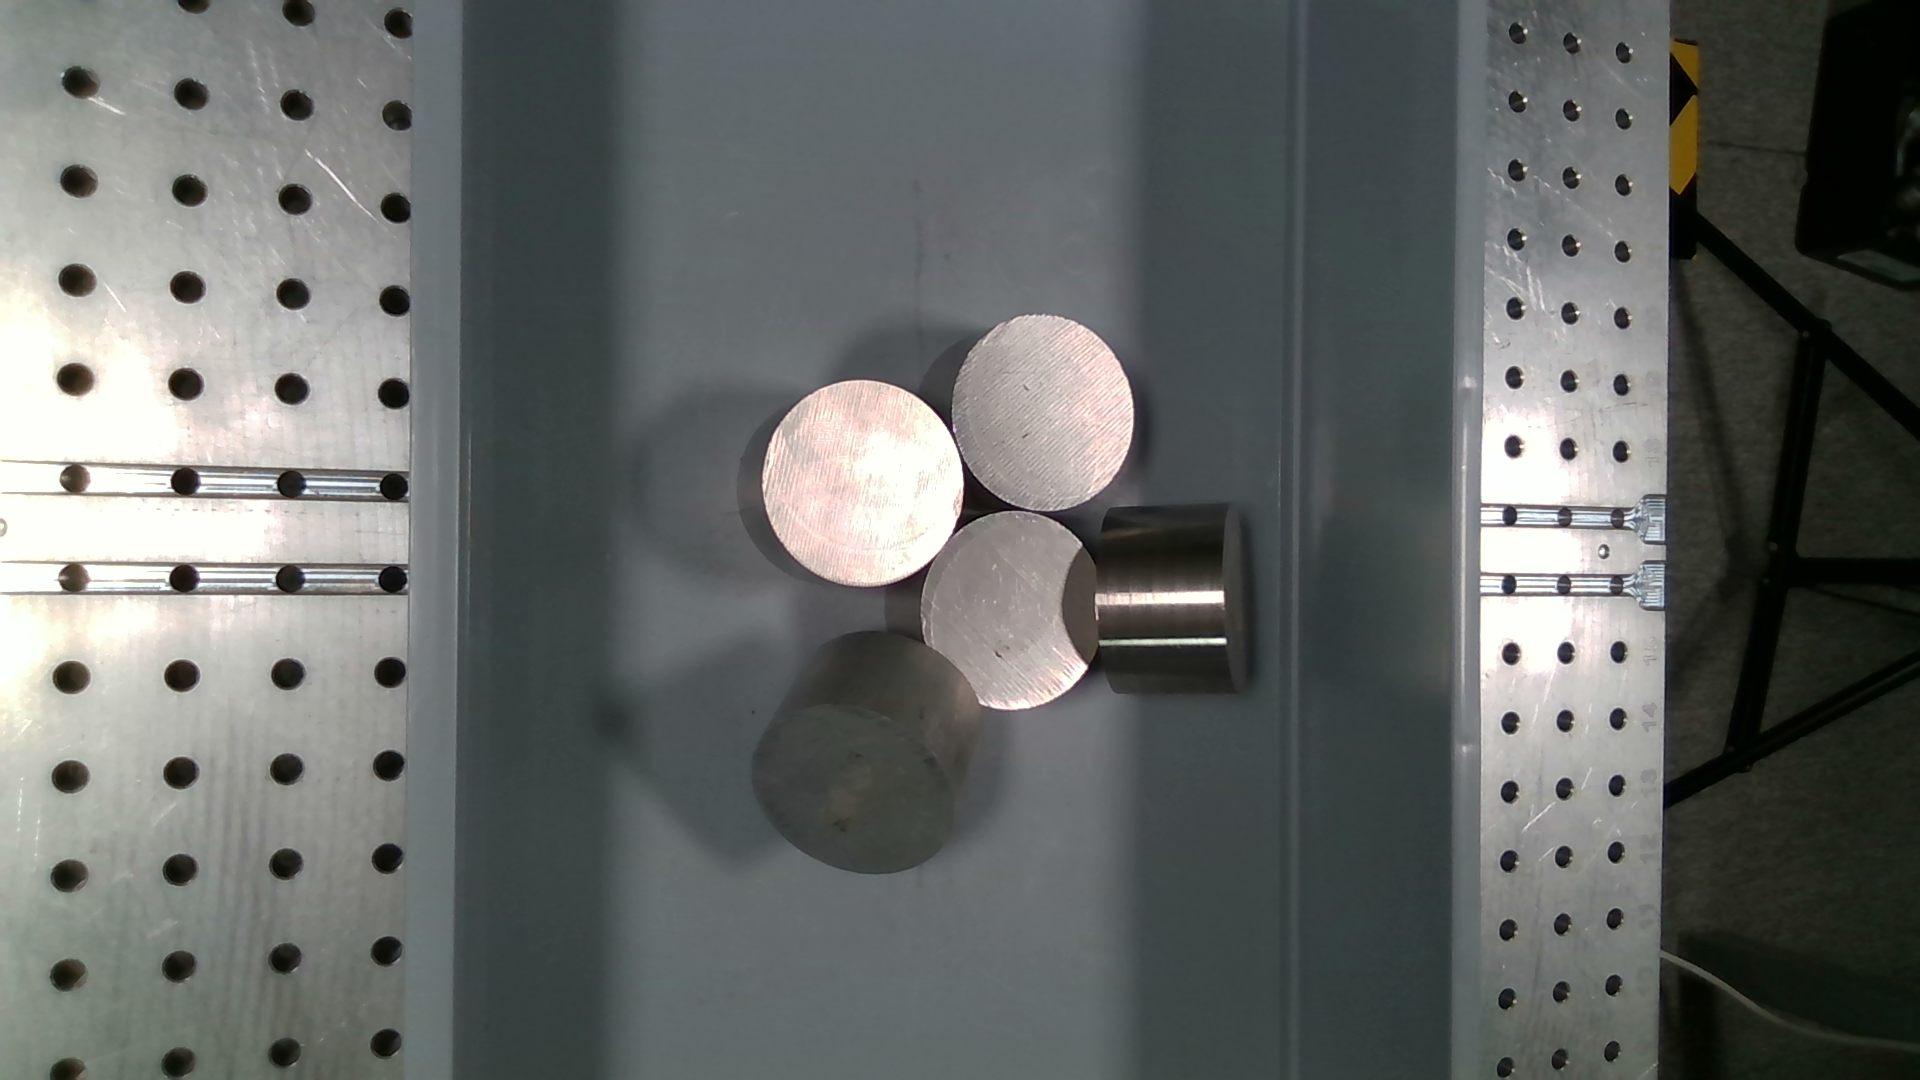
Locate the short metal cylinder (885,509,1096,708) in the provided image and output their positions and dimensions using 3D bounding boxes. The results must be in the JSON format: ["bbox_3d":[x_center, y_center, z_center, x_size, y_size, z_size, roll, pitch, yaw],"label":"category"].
[{"bbox_3d":[0.014,0.028,0.576,0.080,0.050,0.080,0,90,-20],"label":"short metal cylinder"}]

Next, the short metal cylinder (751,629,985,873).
[{"bbox_3d":[-0.035,0.082,0.537,0.080,0.050,0.080,6,120,11],"label":"short metal cylinder"}]

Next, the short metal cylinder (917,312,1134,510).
[{"bbox_3d":[0.026,-0.052,0.580,0.080,0.050,0.080,0,90,-20],"label":"short metal cylinder"}]

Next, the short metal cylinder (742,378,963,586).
[{"bbox_3d":[-0.045,-0.022,0.554,0.080,0.050,0.080,0,90,-20],"label":"short metal cylinder"}]

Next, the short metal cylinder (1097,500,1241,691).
[{"bbox_3d":[0.091,0.024,0.582,0.050,0.080,0.080,-3,91,18],"label":"short metal cylinder"}]
